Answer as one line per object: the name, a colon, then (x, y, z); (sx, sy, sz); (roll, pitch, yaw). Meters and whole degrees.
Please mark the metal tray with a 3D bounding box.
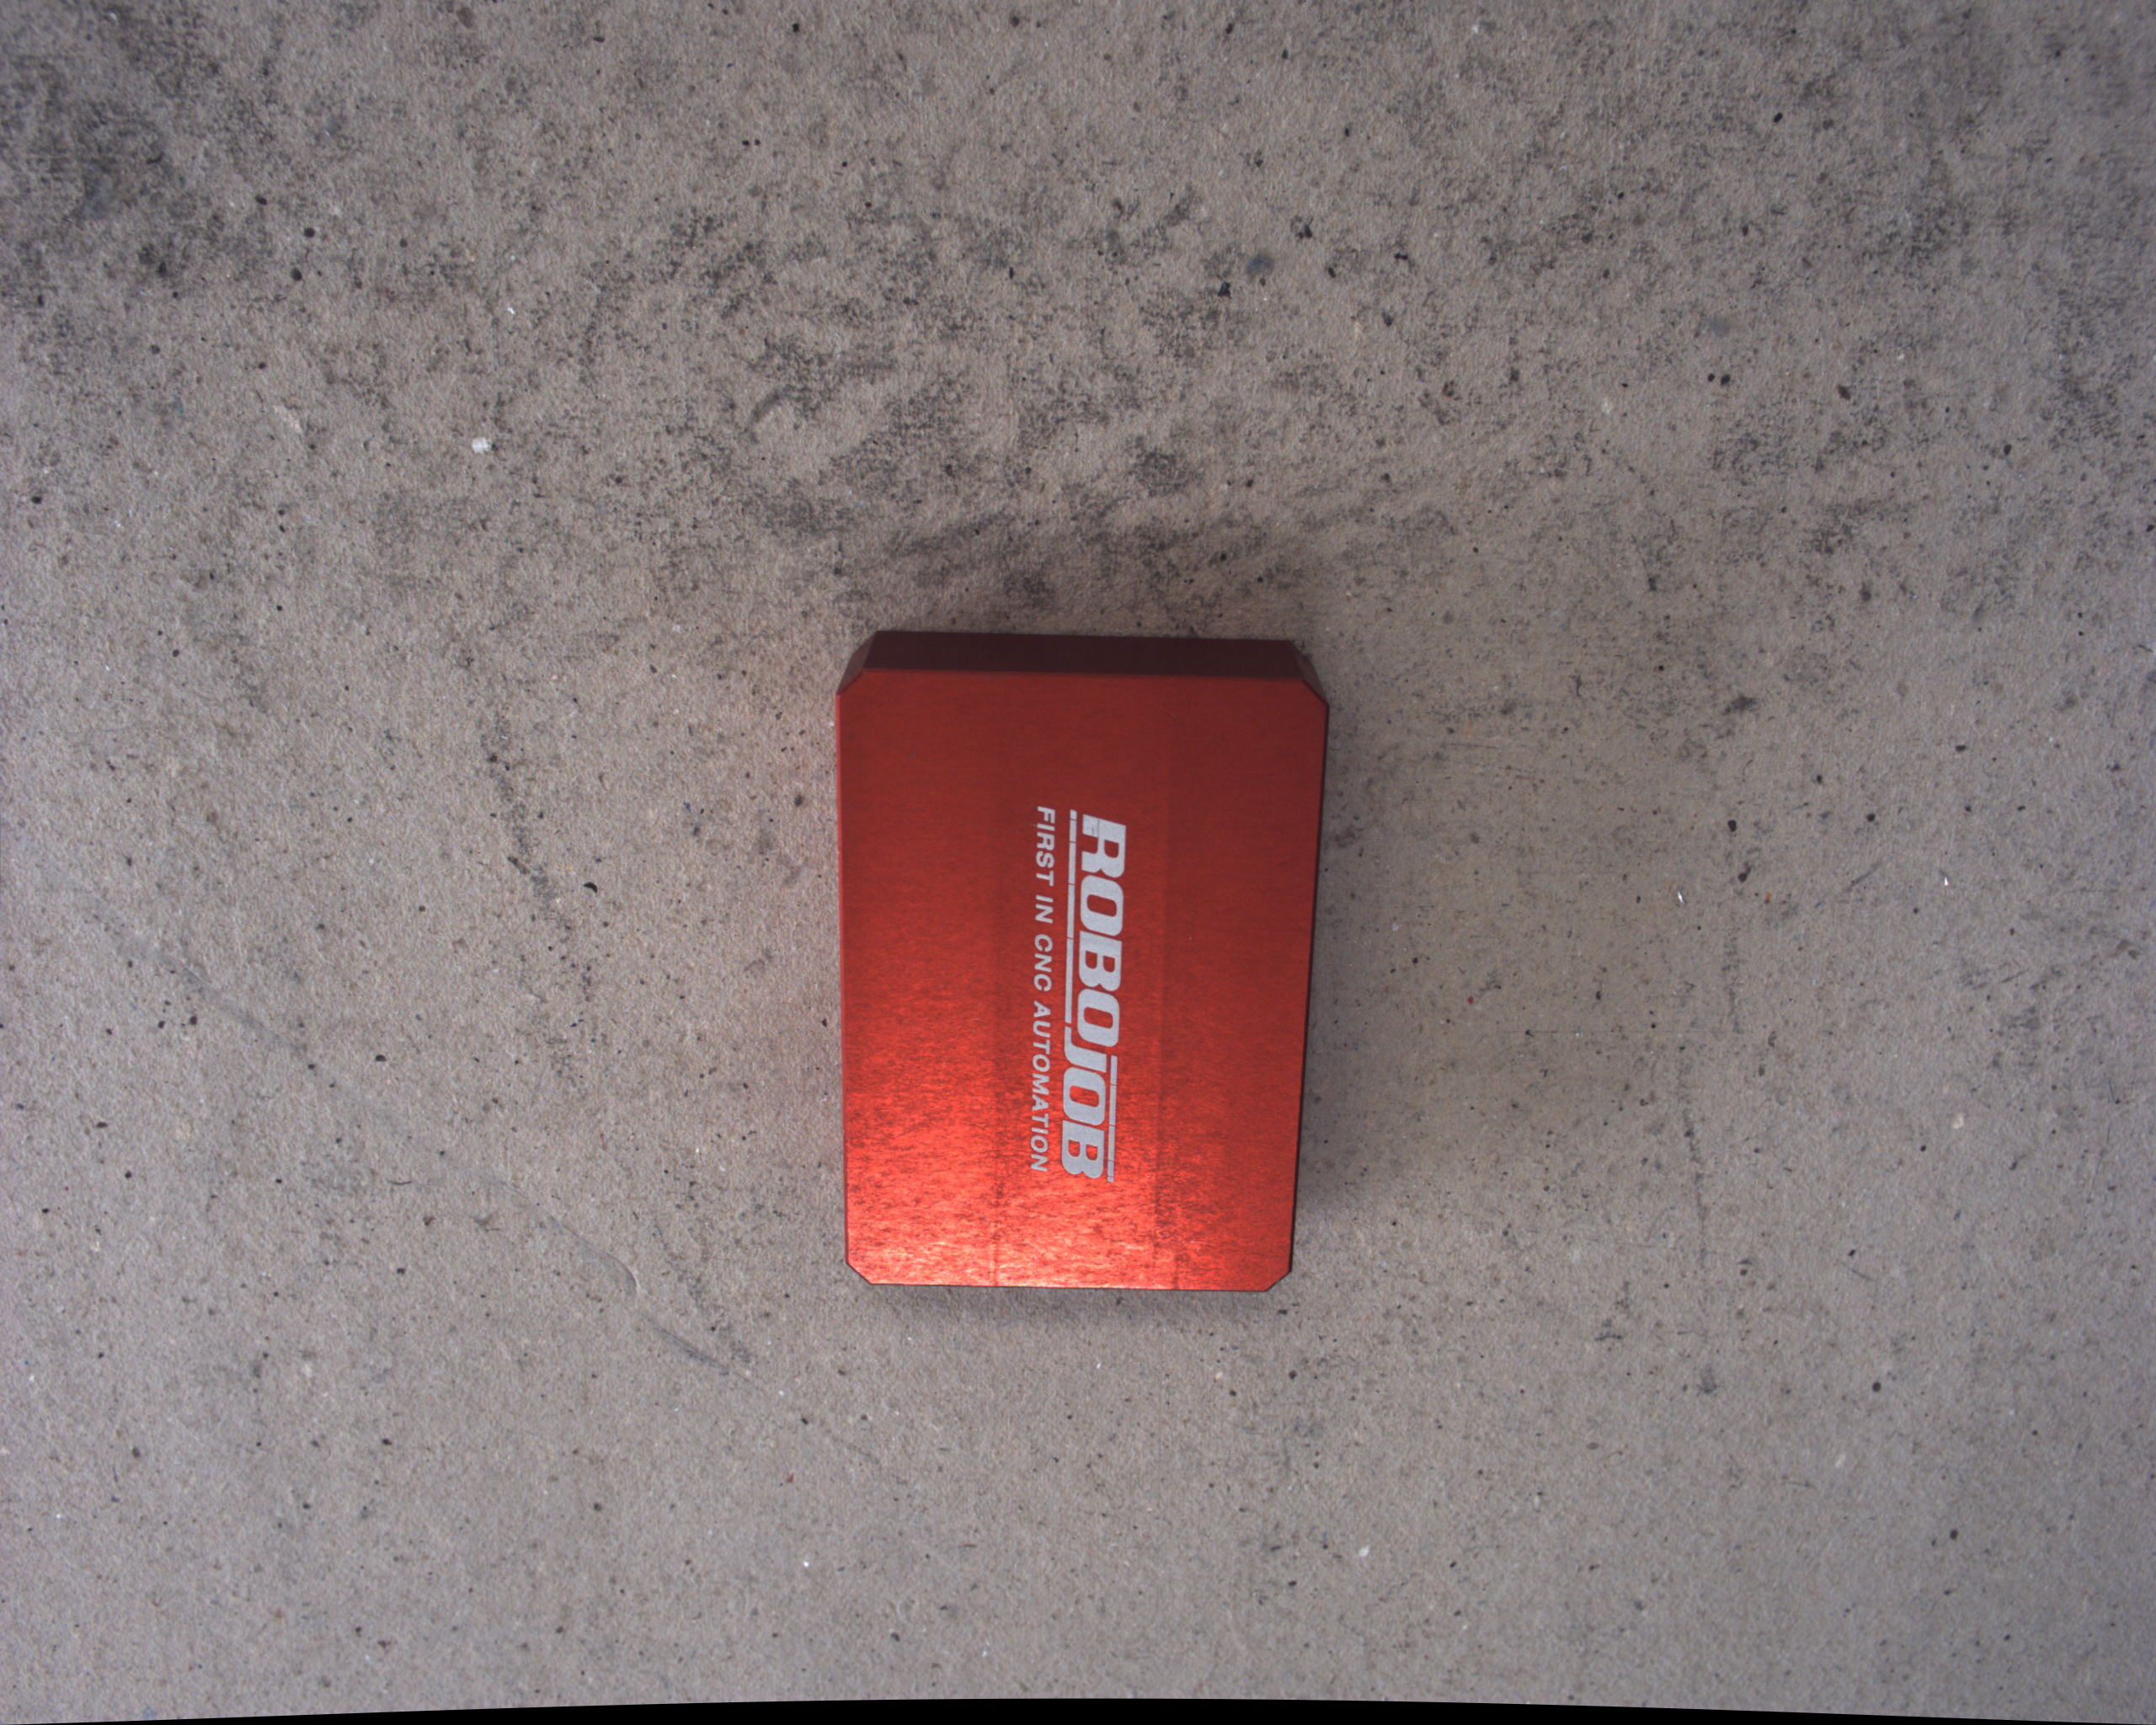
metal tray: (-0.001, 0.021, 0.416); (0.090, 0.030, 0.129); (1, 111, -1)
